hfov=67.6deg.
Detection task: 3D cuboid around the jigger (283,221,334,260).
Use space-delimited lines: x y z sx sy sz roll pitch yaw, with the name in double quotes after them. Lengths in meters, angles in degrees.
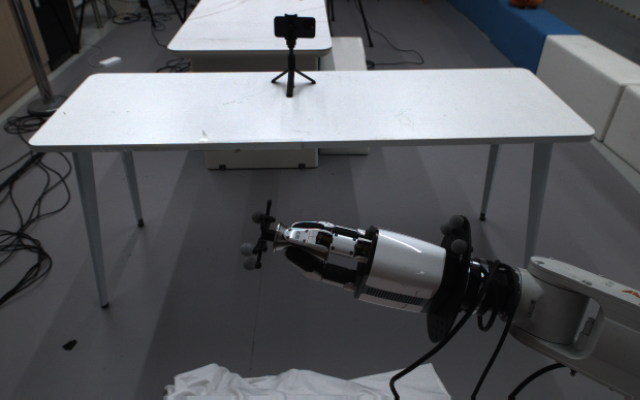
-0.014 0.049 0.608 0.071 0.043 0.043 11 35 3 "jigger"
